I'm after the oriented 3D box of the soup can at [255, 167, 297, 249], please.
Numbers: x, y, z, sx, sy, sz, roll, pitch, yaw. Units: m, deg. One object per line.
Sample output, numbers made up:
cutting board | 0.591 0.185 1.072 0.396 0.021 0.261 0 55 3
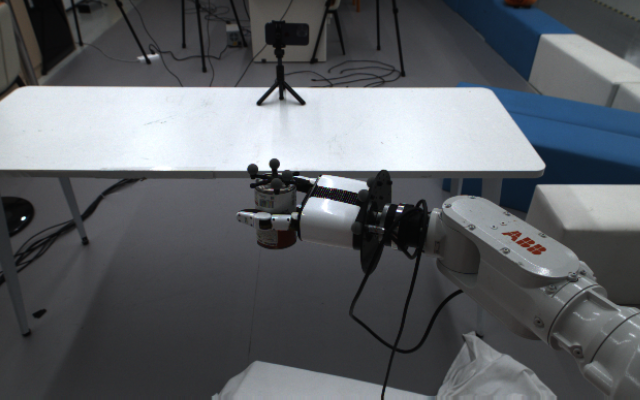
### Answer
soup can | -0.069 0.020 0.771 0.067 0.101 0.067 1 26 0
